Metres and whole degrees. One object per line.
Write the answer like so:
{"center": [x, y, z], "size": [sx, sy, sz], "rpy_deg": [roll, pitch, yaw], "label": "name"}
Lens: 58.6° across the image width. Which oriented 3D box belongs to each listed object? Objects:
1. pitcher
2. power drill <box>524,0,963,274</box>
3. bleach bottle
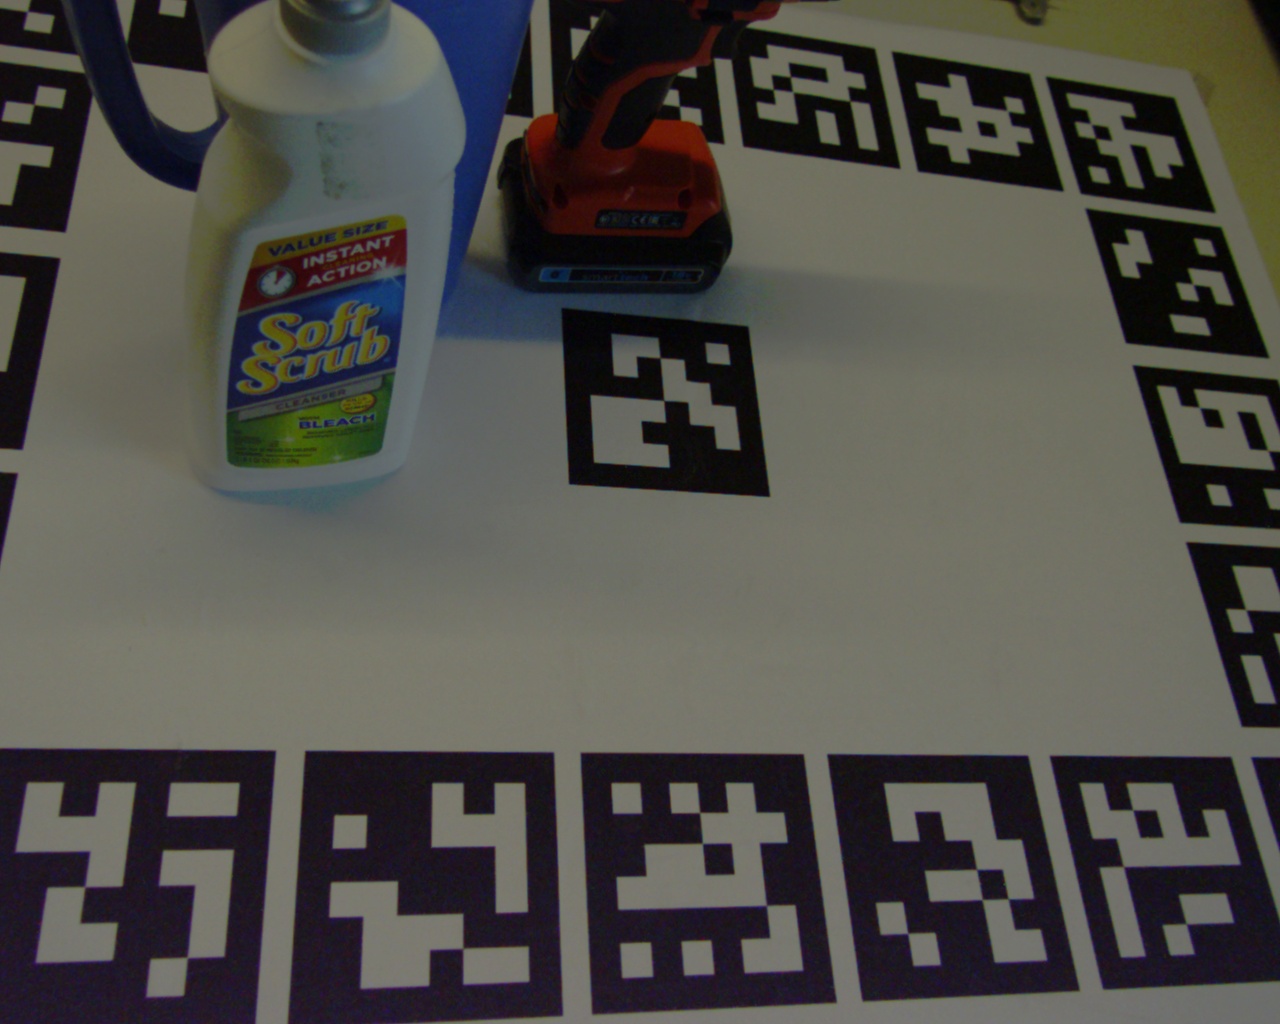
{"center": [-0.127, -0.182, 0.484], "size": [0.187, 0.243, 0.134], "rpy_deg": [-23, 75, -24], "label": "pitcher"}
{"center": [0.031, -0.186, 0.539], "size": [0.183, 0.188, 0.057], "rpy_deg": [0, 69, -21], "label": "power drill"}
{"center": [-0.127, -0.098, 0.421], "size": [0.102, 0.251, 0.068], "rpy_deg": [-4, 67, -17], "label": "bleach bottle"}
